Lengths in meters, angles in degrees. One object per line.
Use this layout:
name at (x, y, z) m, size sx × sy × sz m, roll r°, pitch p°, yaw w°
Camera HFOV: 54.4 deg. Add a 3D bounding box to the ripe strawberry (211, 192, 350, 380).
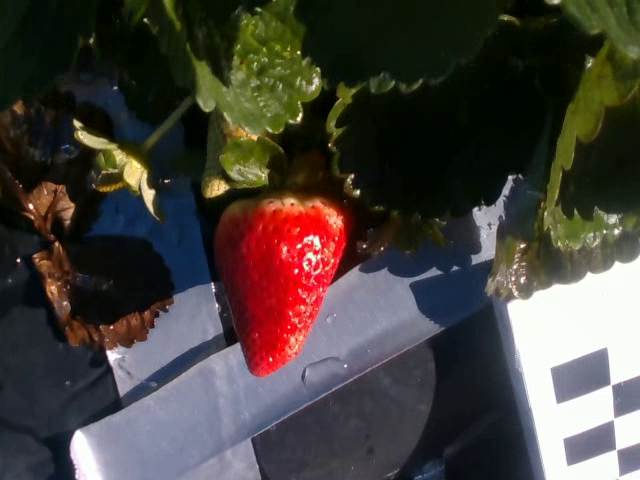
ripe strawberry at (-0.011, 0.020, 0.230) m, size 0.062 × 0.065 × 0.058 m, roll 5°, pitch -13°, yaw -17°
